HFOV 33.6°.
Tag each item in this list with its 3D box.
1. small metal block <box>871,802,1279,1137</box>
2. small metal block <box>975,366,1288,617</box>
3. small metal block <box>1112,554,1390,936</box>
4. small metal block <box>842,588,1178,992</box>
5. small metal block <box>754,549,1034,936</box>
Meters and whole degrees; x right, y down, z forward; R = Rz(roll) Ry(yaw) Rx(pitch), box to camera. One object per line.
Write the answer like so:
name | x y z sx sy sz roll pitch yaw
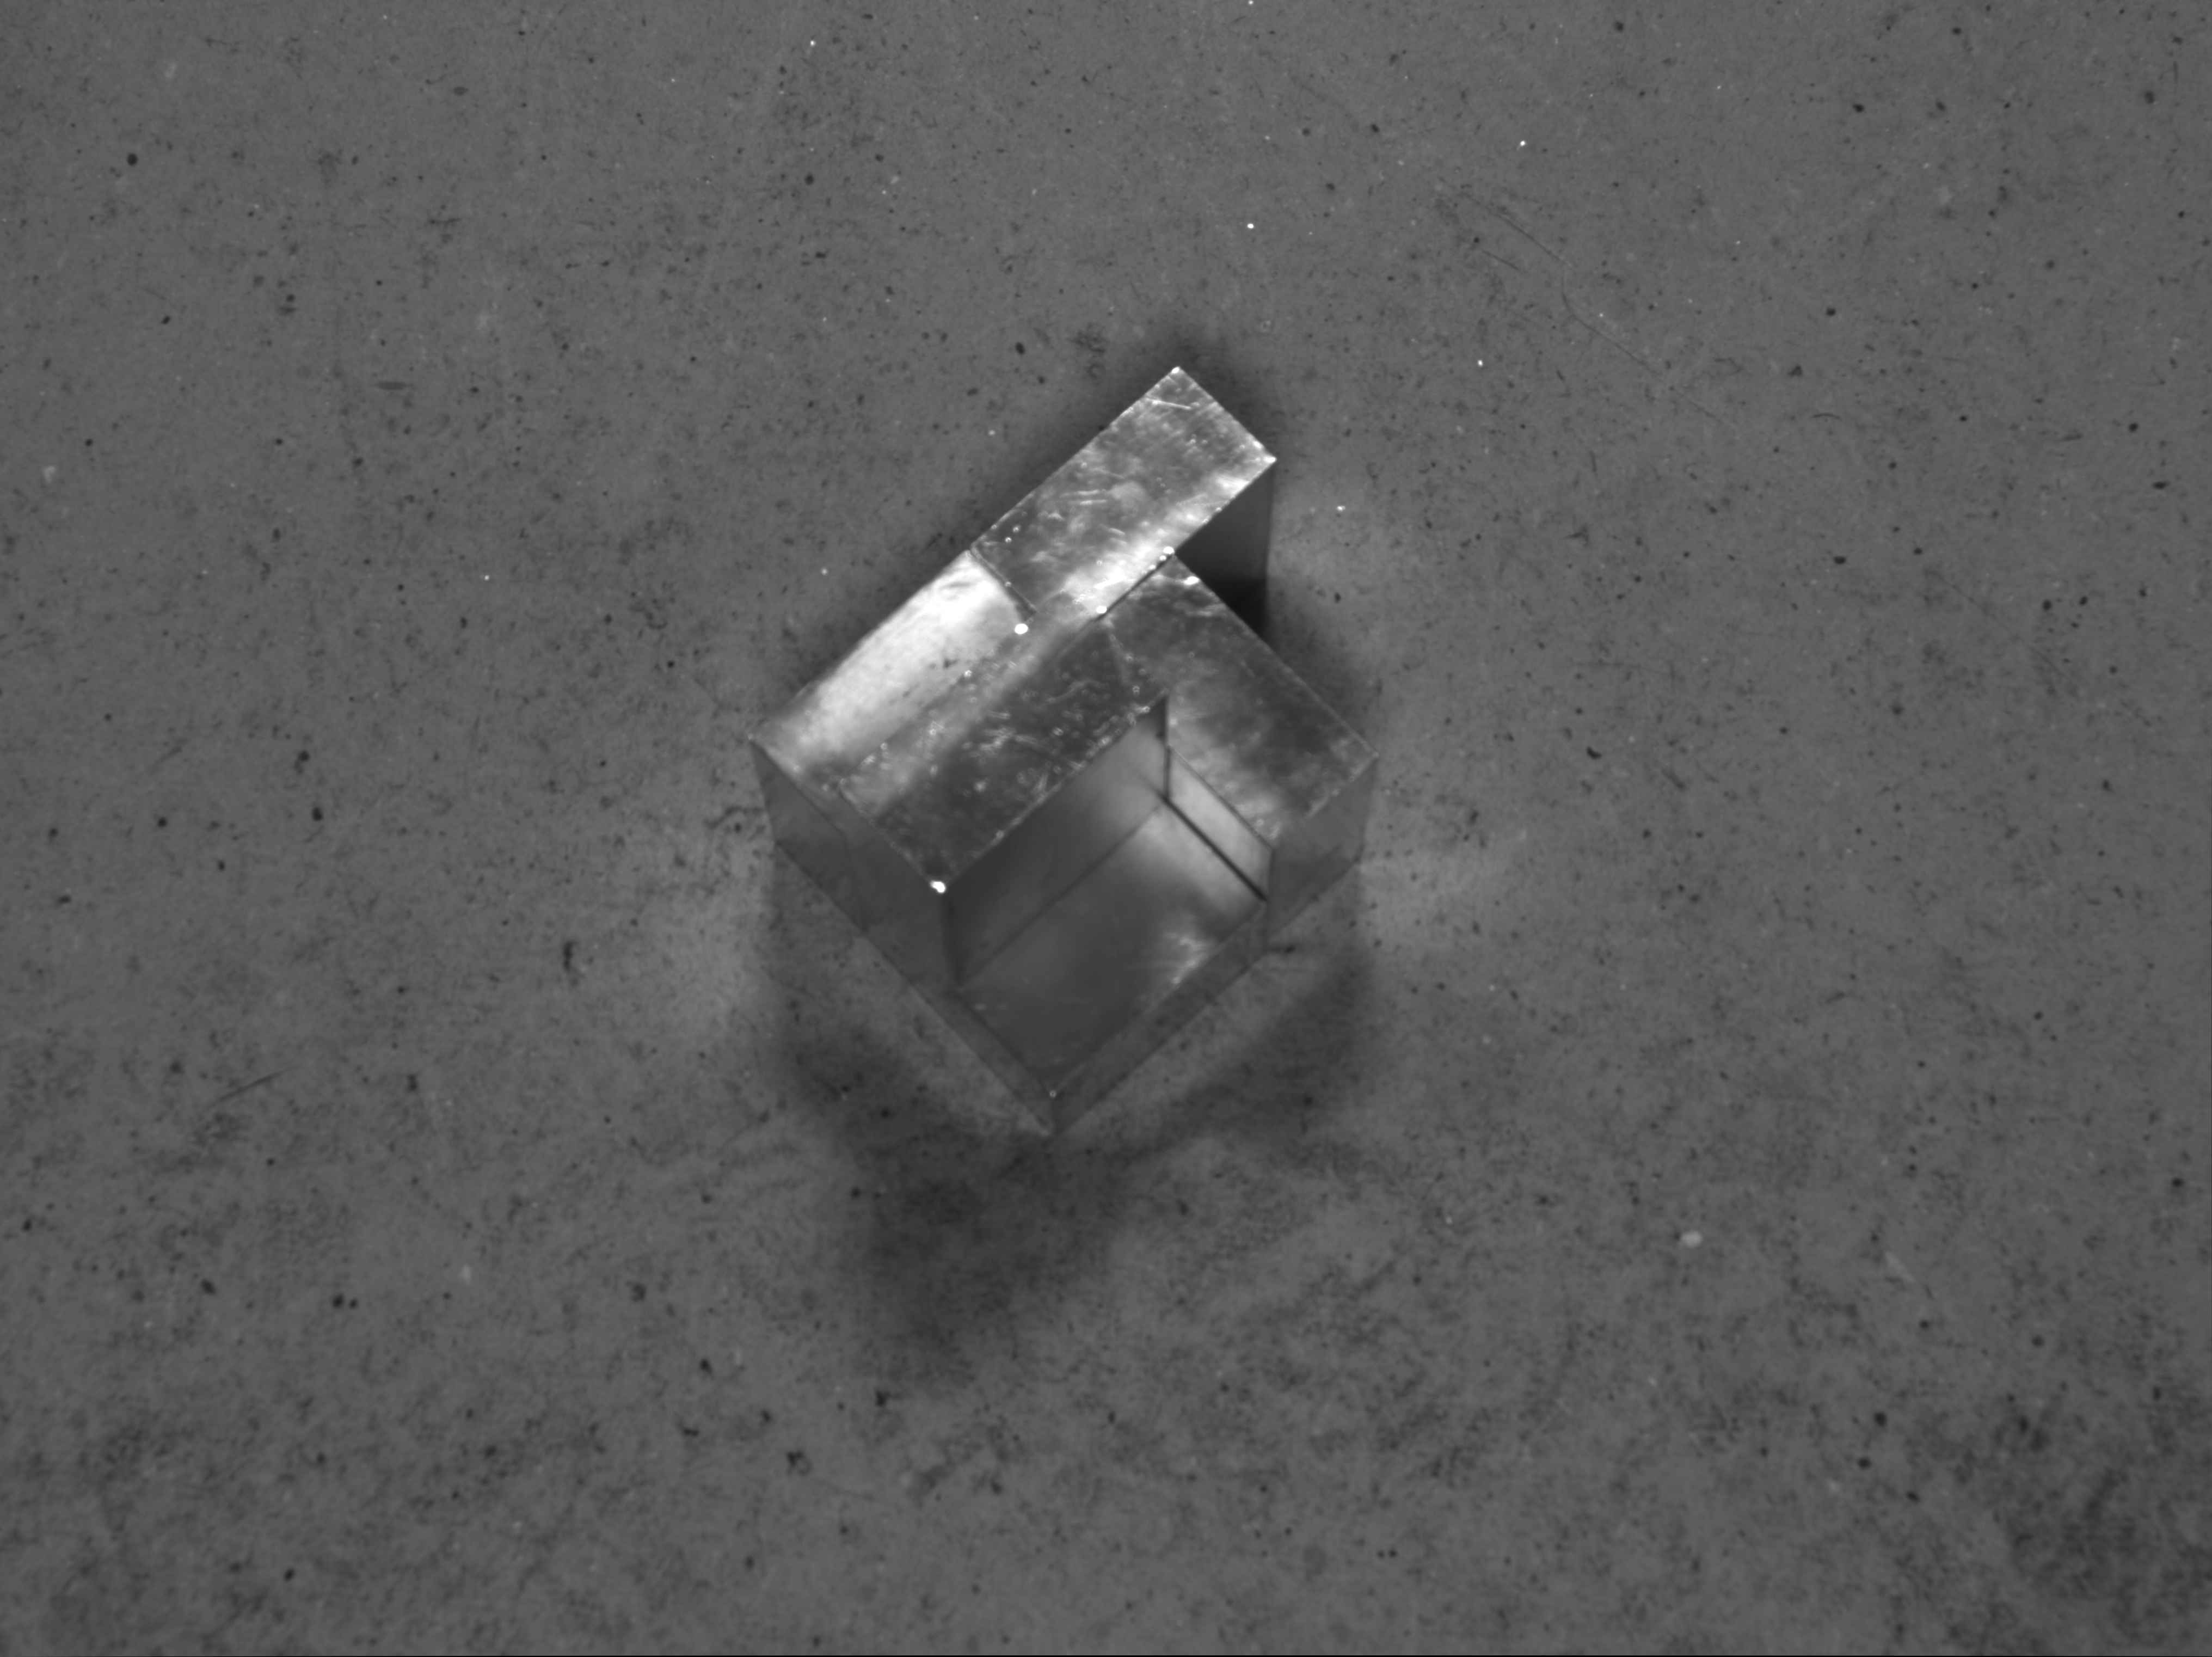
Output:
small metal block | -0.006 0.016 0.639 0.050 0.025 0.050 -41 75 -14
small metal block | 0.005 -0.047 0.649 0.050 0.050 0.025 -42 75 -14
small metal block | 0.021 -0.013 0.636 0.025 0.050 0.050 -41 75 -14
small metal block | -0.015 -0.006 0.607 0.050 0.050 0.025 -42 75 -14
small metal block | -0.032 -0.014 0.637 0.050 0.050 0.025 -42 75 -14
